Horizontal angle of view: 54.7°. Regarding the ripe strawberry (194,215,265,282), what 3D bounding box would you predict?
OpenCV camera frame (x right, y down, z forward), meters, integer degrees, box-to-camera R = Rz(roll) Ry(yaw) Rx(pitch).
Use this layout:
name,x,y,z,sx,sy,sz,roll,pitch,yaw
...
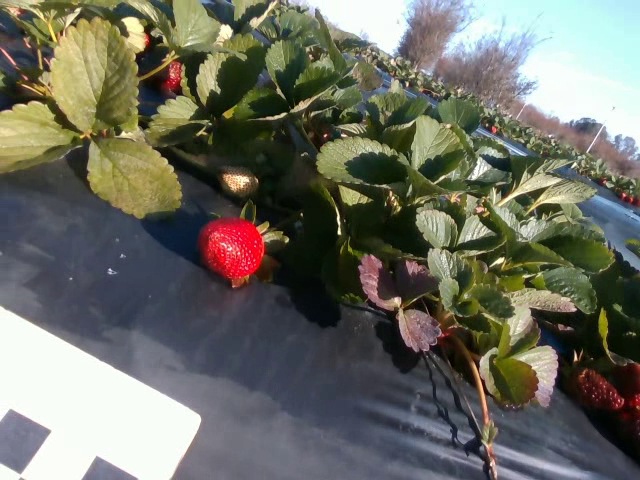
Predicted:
name,x,y,z,sx,sy,sz,roll,pitch,yaw
ripe strawberry,-0.055,0.005,0.349,0.043,0.043,0.050,-35,-19,8
